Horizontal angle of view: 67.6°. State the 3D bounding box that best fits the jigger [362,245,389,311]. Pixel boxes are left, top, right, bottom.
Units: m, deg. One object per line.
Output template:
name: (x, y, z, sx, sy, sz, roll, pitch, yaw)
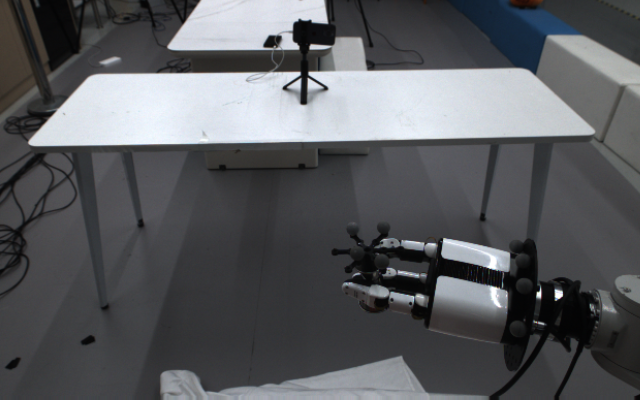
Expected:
jigger: (0.069, 0.103, 0.626, 0.043, 0.071, 0.043, -9, 31, 5)
